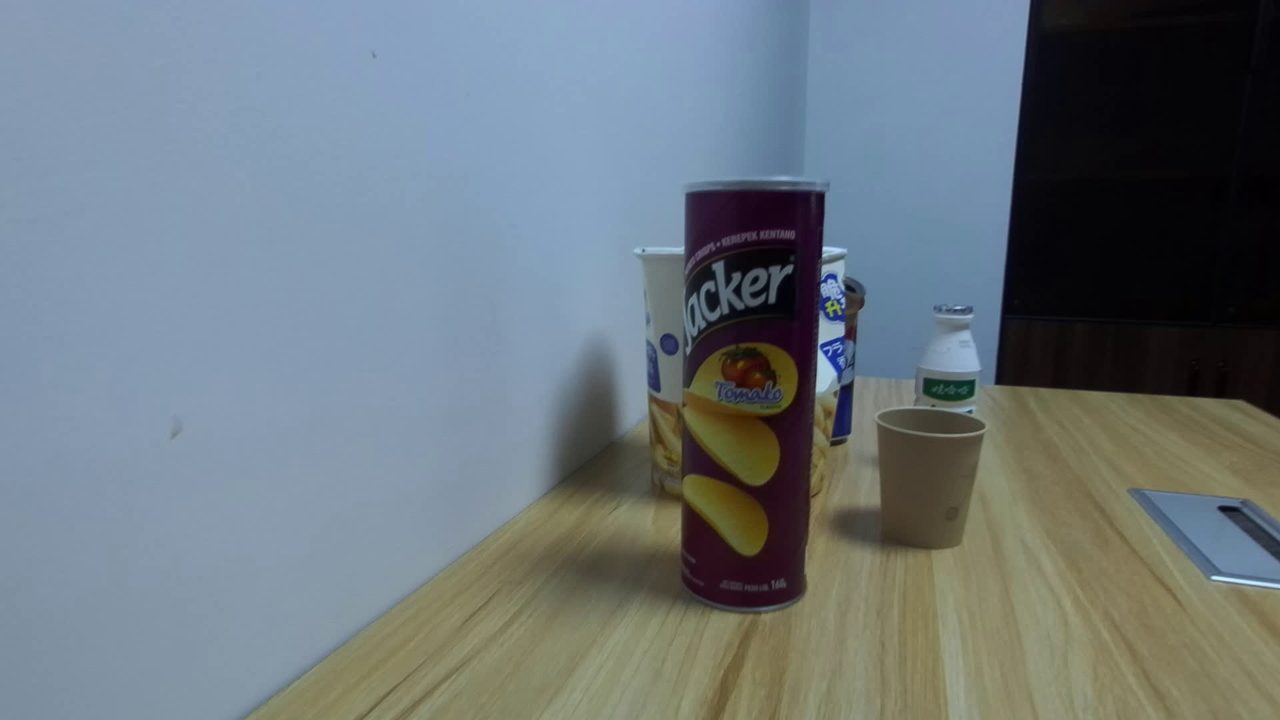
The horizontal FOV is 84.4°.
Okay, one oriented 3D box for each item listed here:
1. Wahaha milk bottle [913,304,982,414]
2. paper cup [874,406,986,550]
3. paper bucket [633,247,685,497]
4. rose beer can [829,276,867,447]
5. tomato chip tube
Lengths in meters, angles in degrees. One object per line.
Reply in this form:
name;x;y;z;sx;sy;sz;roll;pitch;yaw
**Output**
Wahaha milk bottle;0.263;0.027;0.607;0.053;0.147;0.053;1;9;0
paper cup;0.197;0.081;0.487;0.075;0.082;0.075;1;9;0
paper bucket;0.078;0.008;0.567;0.168;0.202;0.163;2;11;19
rose beer can;0.183;-0.001;0.706;0.070;0.168;0.069;6;12;10
tomato chip tube;0.063;0.020;0.405;0.078;0.233;0.078;0;10;0
